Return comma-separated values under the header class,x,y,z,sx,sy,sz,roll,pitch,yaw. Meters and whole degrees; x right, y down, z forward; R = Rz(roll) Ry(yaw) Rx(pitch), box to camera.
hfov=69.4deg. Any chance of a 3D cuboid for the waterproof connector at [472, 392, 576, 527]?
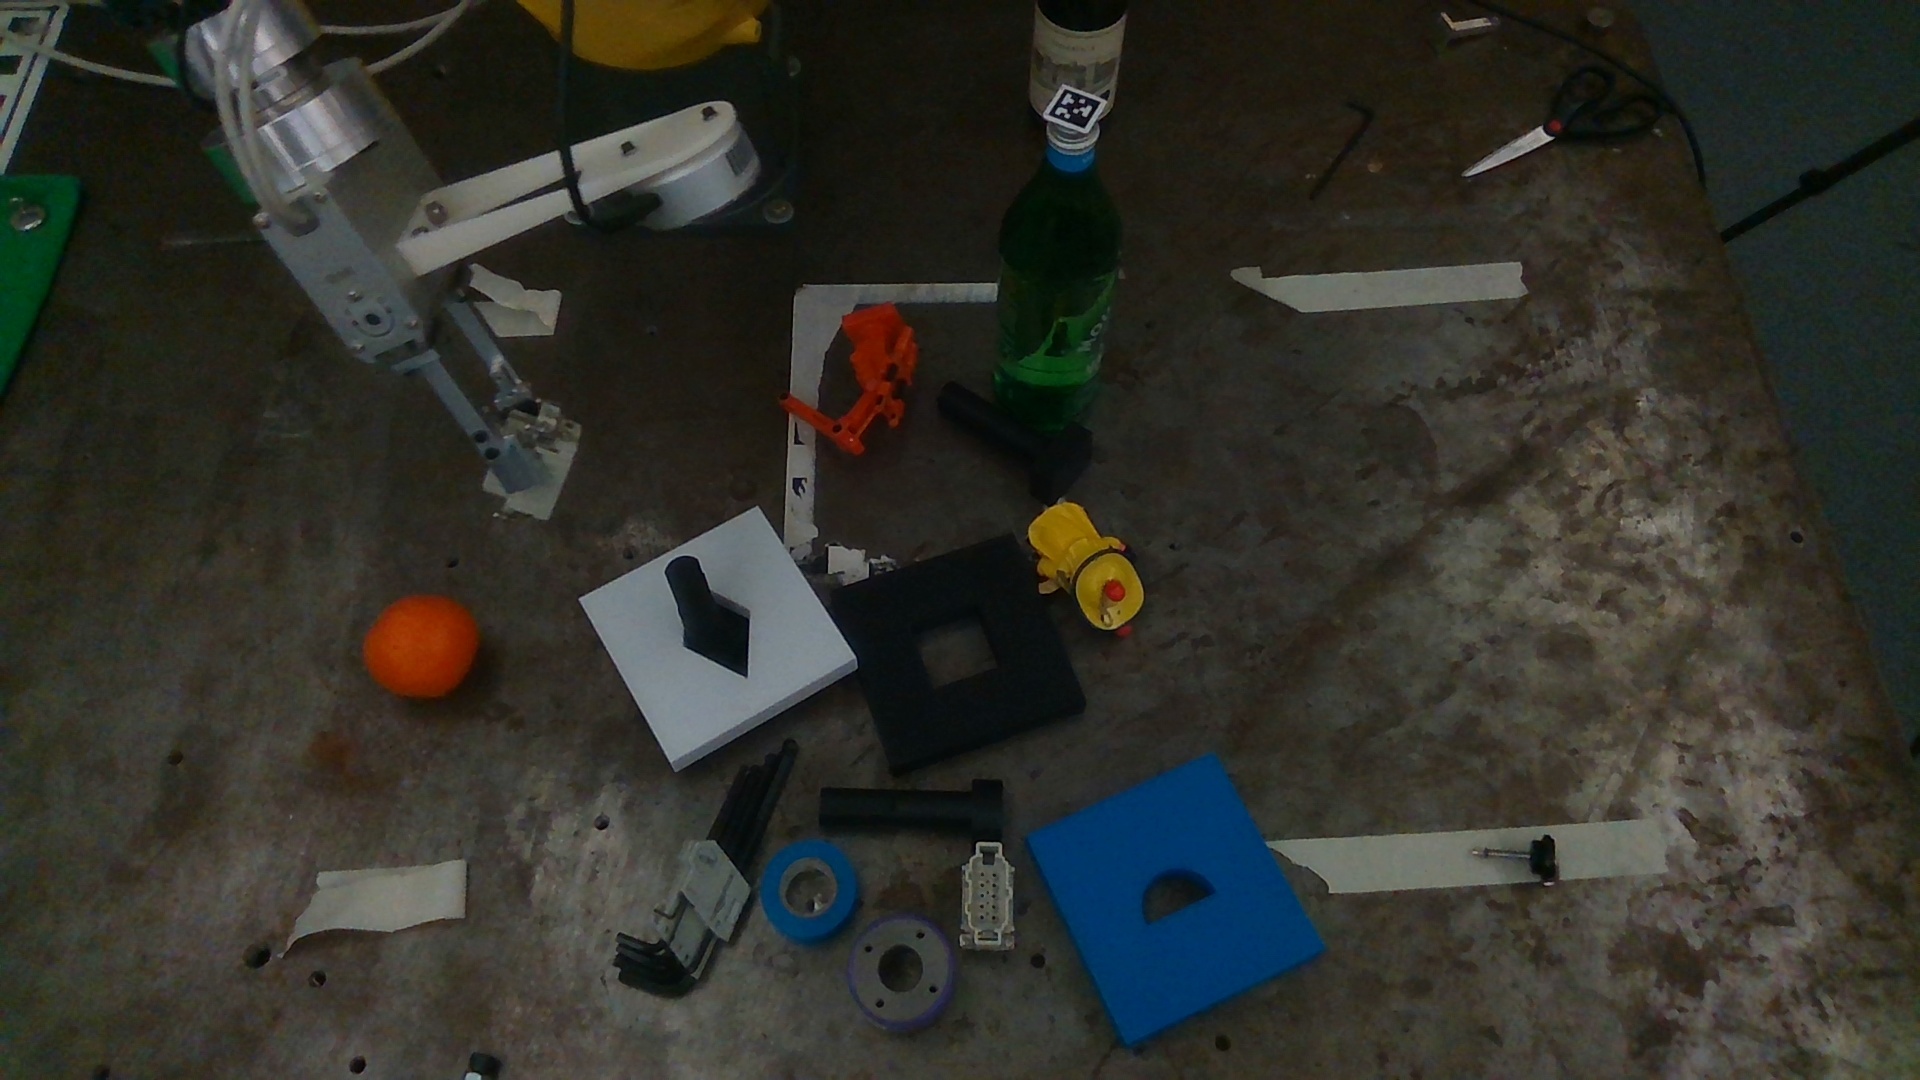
class,x,y,z,sx,sy,sz,roll,pitch,yaw
waterproof connector,-0.227,-0.041,0.720,0.038,0.069,0.037,20,30,-26
